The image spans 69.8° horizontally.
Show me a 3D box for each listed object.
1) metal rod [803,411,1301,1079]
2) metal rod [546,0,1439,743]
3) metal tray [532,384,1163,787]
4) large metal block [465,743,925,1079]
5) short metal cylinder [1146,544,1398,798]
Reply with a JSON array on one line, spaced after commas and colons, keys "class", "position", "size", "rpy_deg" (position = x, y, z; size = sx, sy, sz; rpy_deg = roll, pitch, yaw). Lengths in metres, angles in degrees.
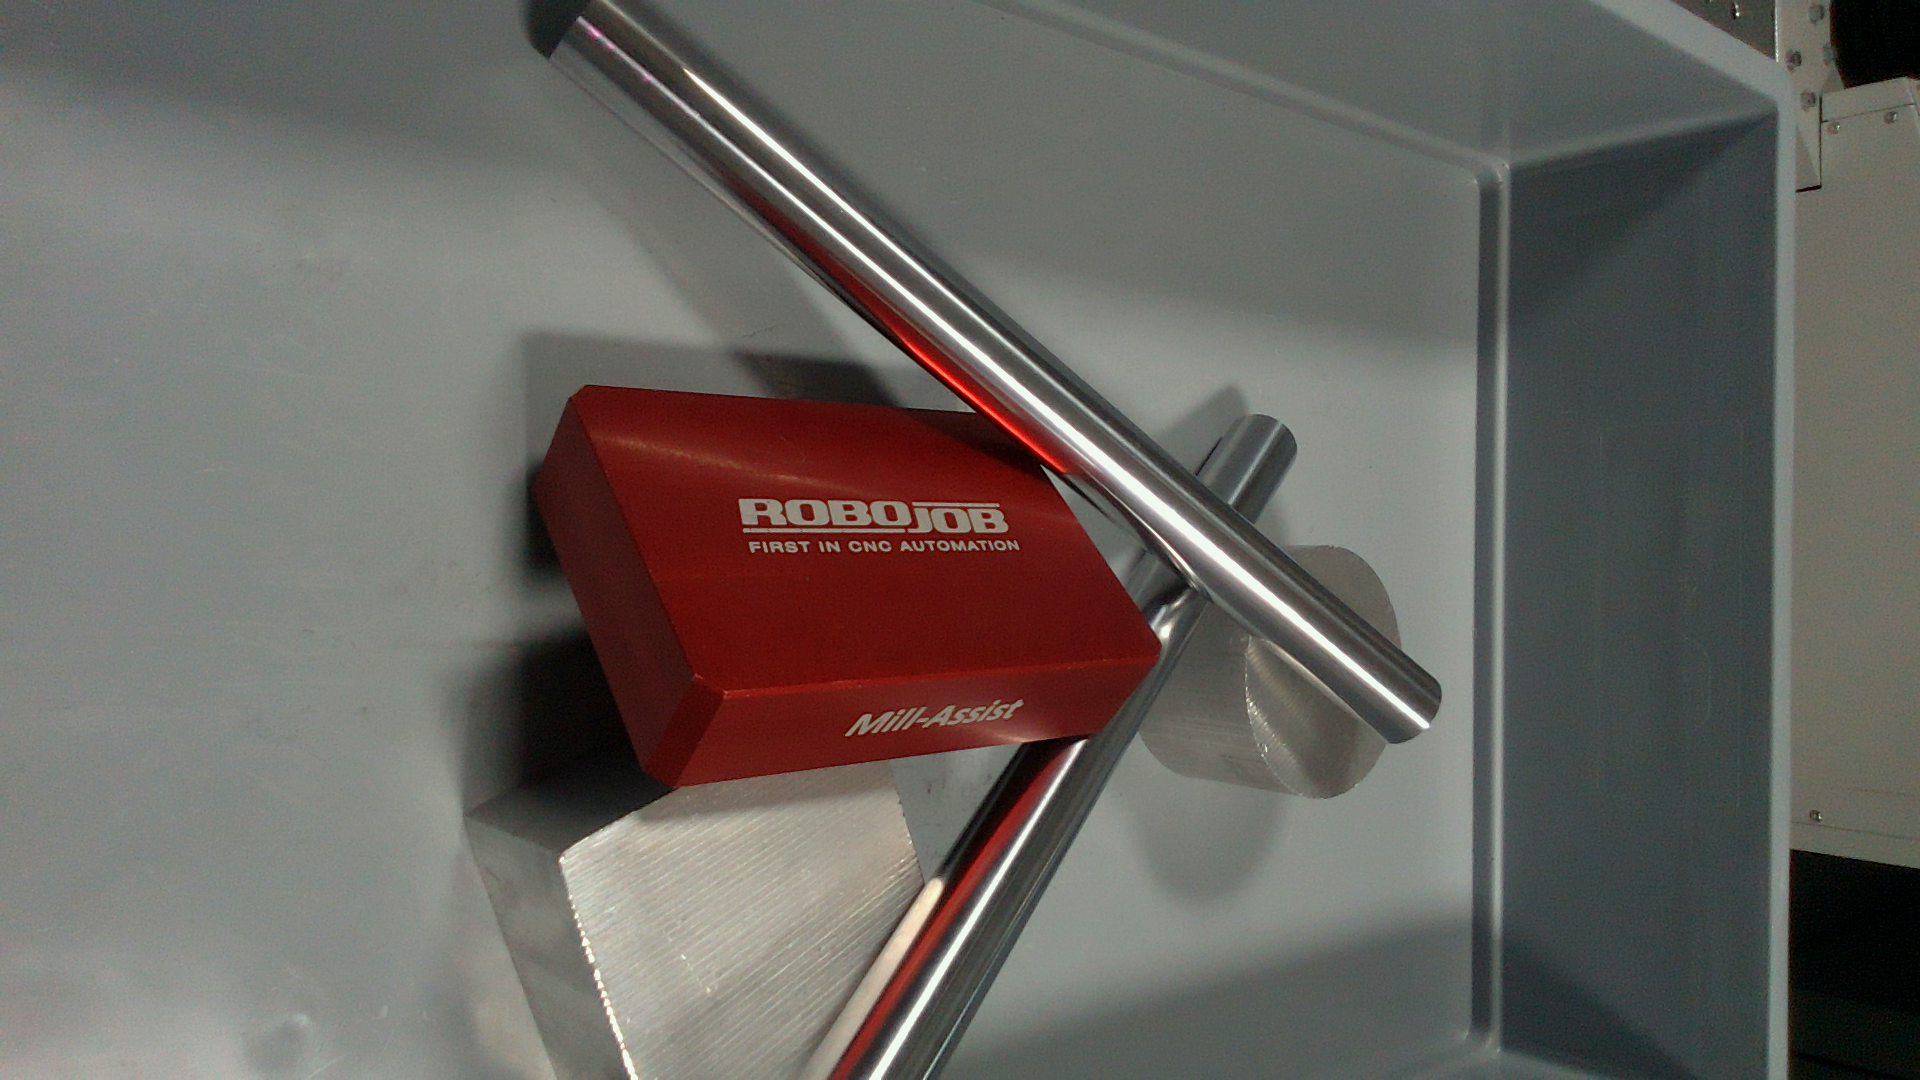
[{"class": "metal rod", "position": [0.036, 0.050, 0.369], "size": [0.301, 0.025, 0.025], "rpy_deg": [-50, 120, -44]}, {"class": "metal rod", "position": [0.024, -0.034, 0.370], "size": [0.301, 0.025, 0.025], "rpy_deg": [37, 67, -20]}, {"class": "metal tray", "position": [-0.024, 0.007, 0.328], "size": [0.131, 0.030, 0.090], "rpy_deg": [0, 46, -38]}, {"class": "large metal block", "position": [-0.056, 0.087, 0.321], "size": [0.080, 0.050, 0.080], "rpy_deg": [-24, 105, -37]}, {"class": "short metal cylinder", "position": [0.101, 0.041, 0.454], "size": [0.080, 0.050, 0.080], "rpy_deg": [0, 90, -40]}]
